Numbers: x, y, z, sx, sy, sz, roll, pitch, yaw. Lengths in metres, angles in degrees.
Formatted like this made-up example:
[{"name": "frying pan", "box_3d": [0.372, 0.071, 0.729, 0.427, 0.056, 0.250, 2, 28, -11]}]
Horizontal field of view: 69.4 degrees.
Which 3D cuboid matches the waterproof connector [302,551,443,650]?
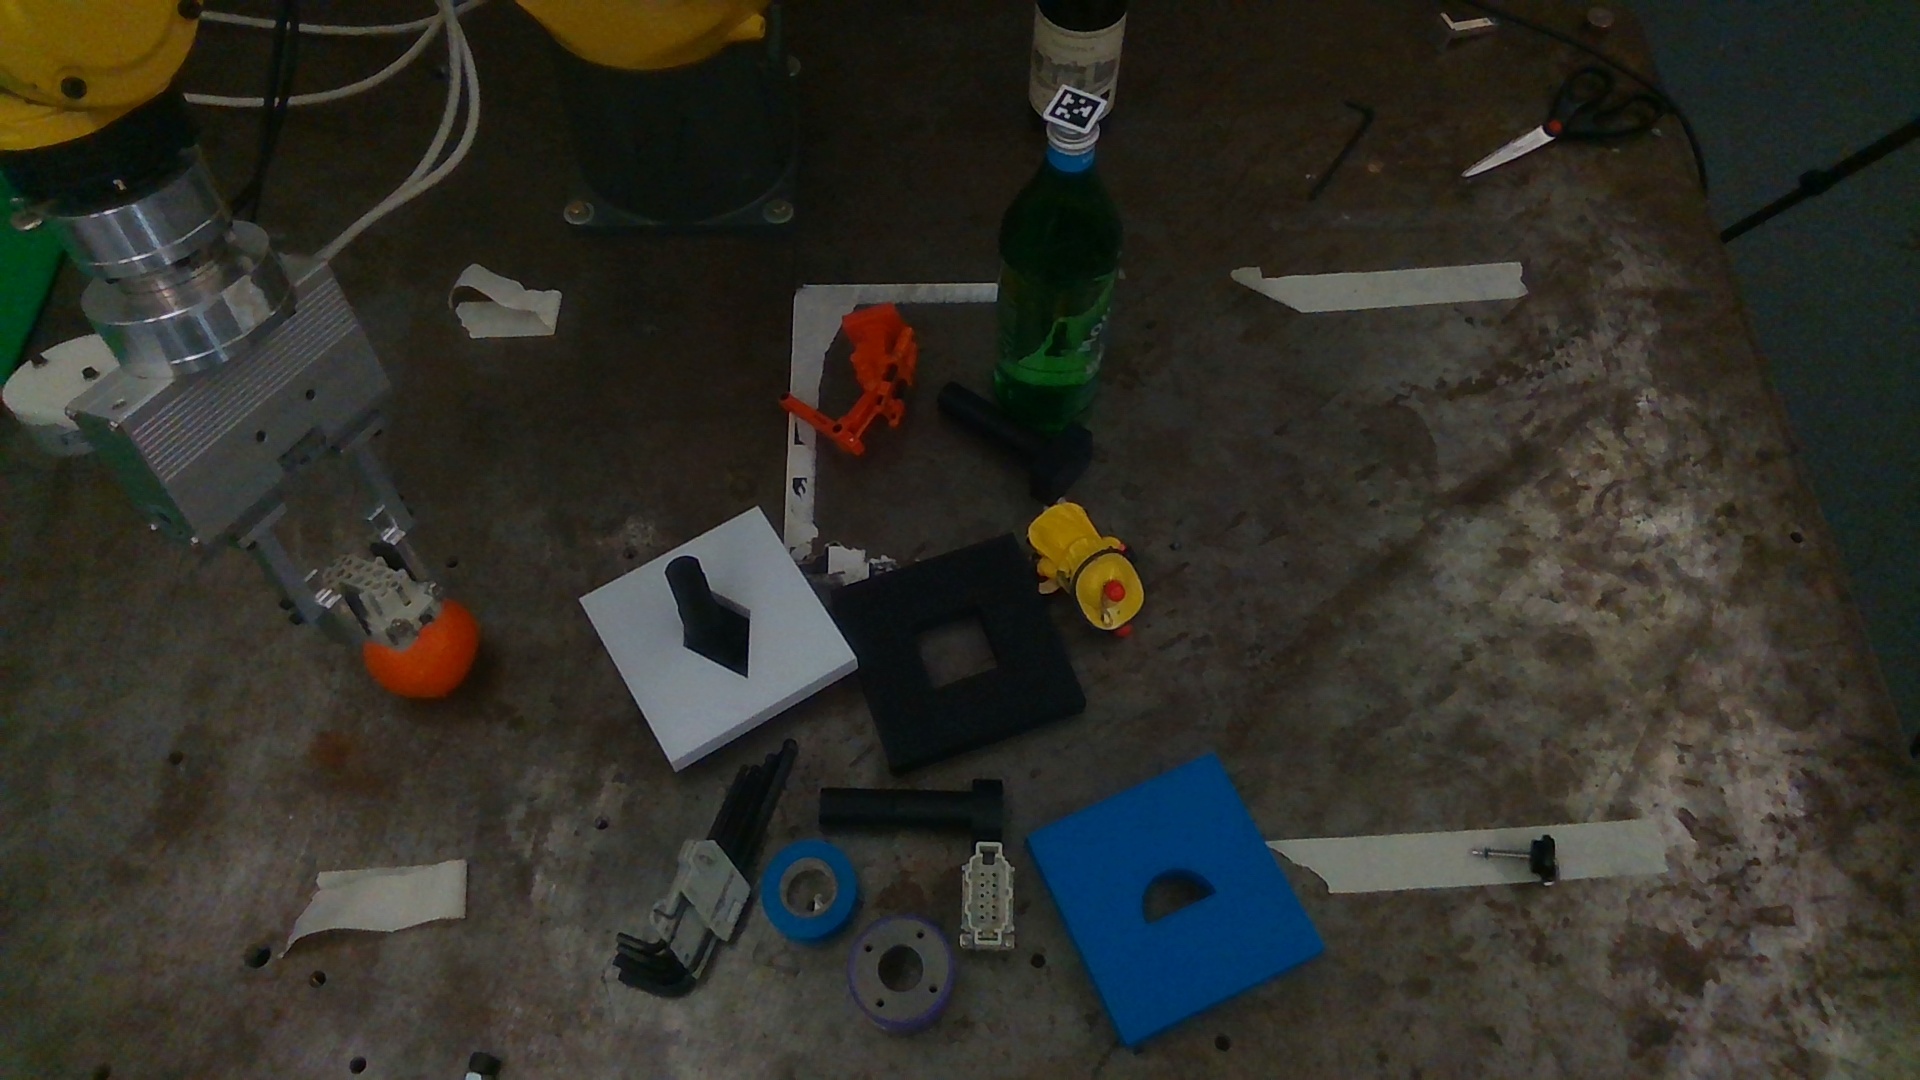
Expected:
[{"name": "waterproof connector", "box_3d": [-0.299, 0.028, 0.708, 0.069, 0.038, 0.036, 11, 54, 24]}]
